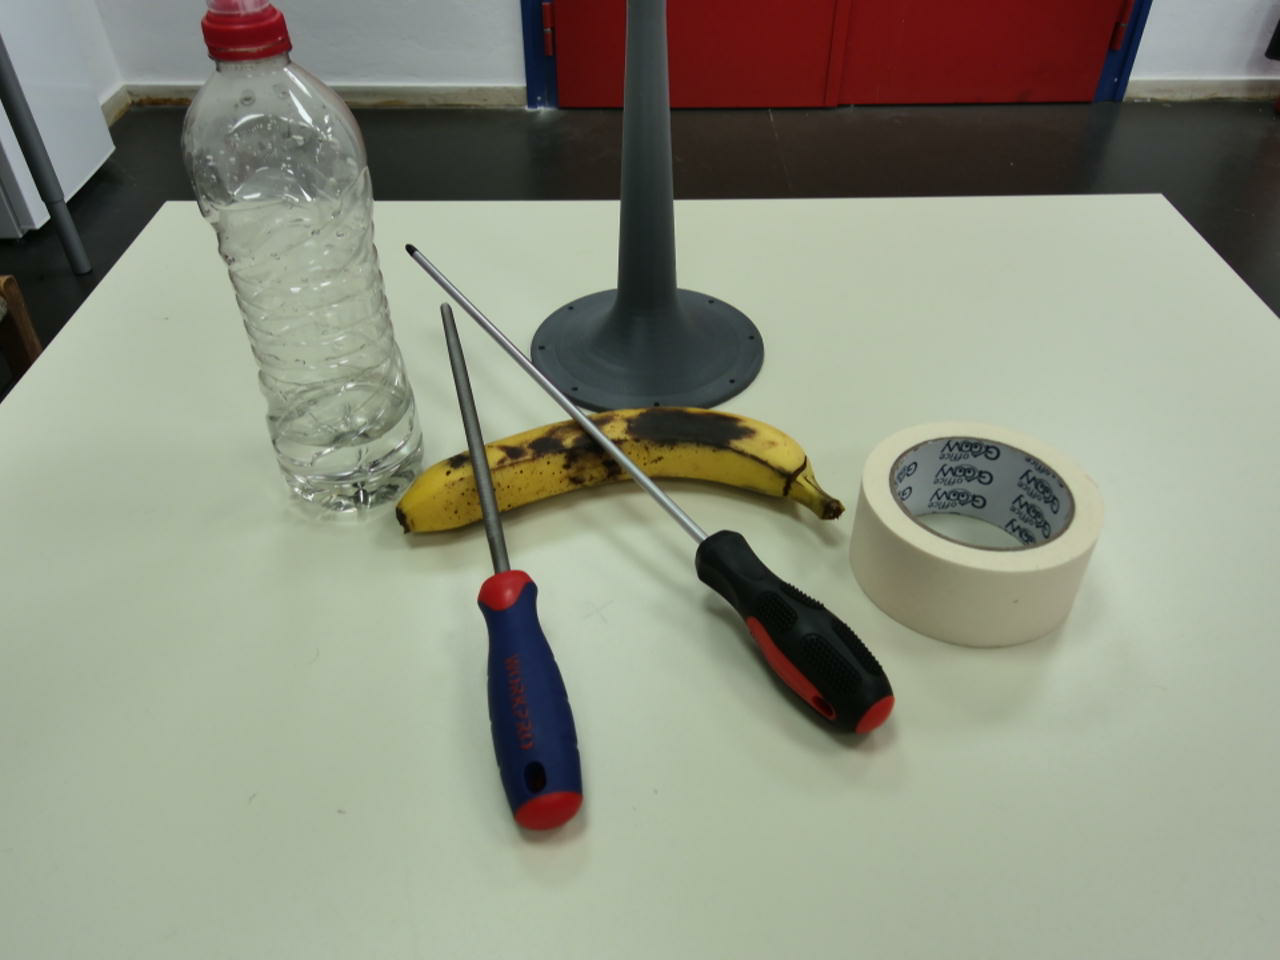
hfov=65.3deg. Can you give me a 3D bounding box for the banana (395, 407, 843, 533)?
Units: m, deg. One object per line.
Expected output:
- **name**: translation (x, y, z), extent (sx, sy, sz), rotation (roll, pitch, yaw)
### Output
- **banana**: translation (-0.011, -0.007, 0.522), extent (0.222, 0.037, 0.084), rotation (0, 39, 0)
